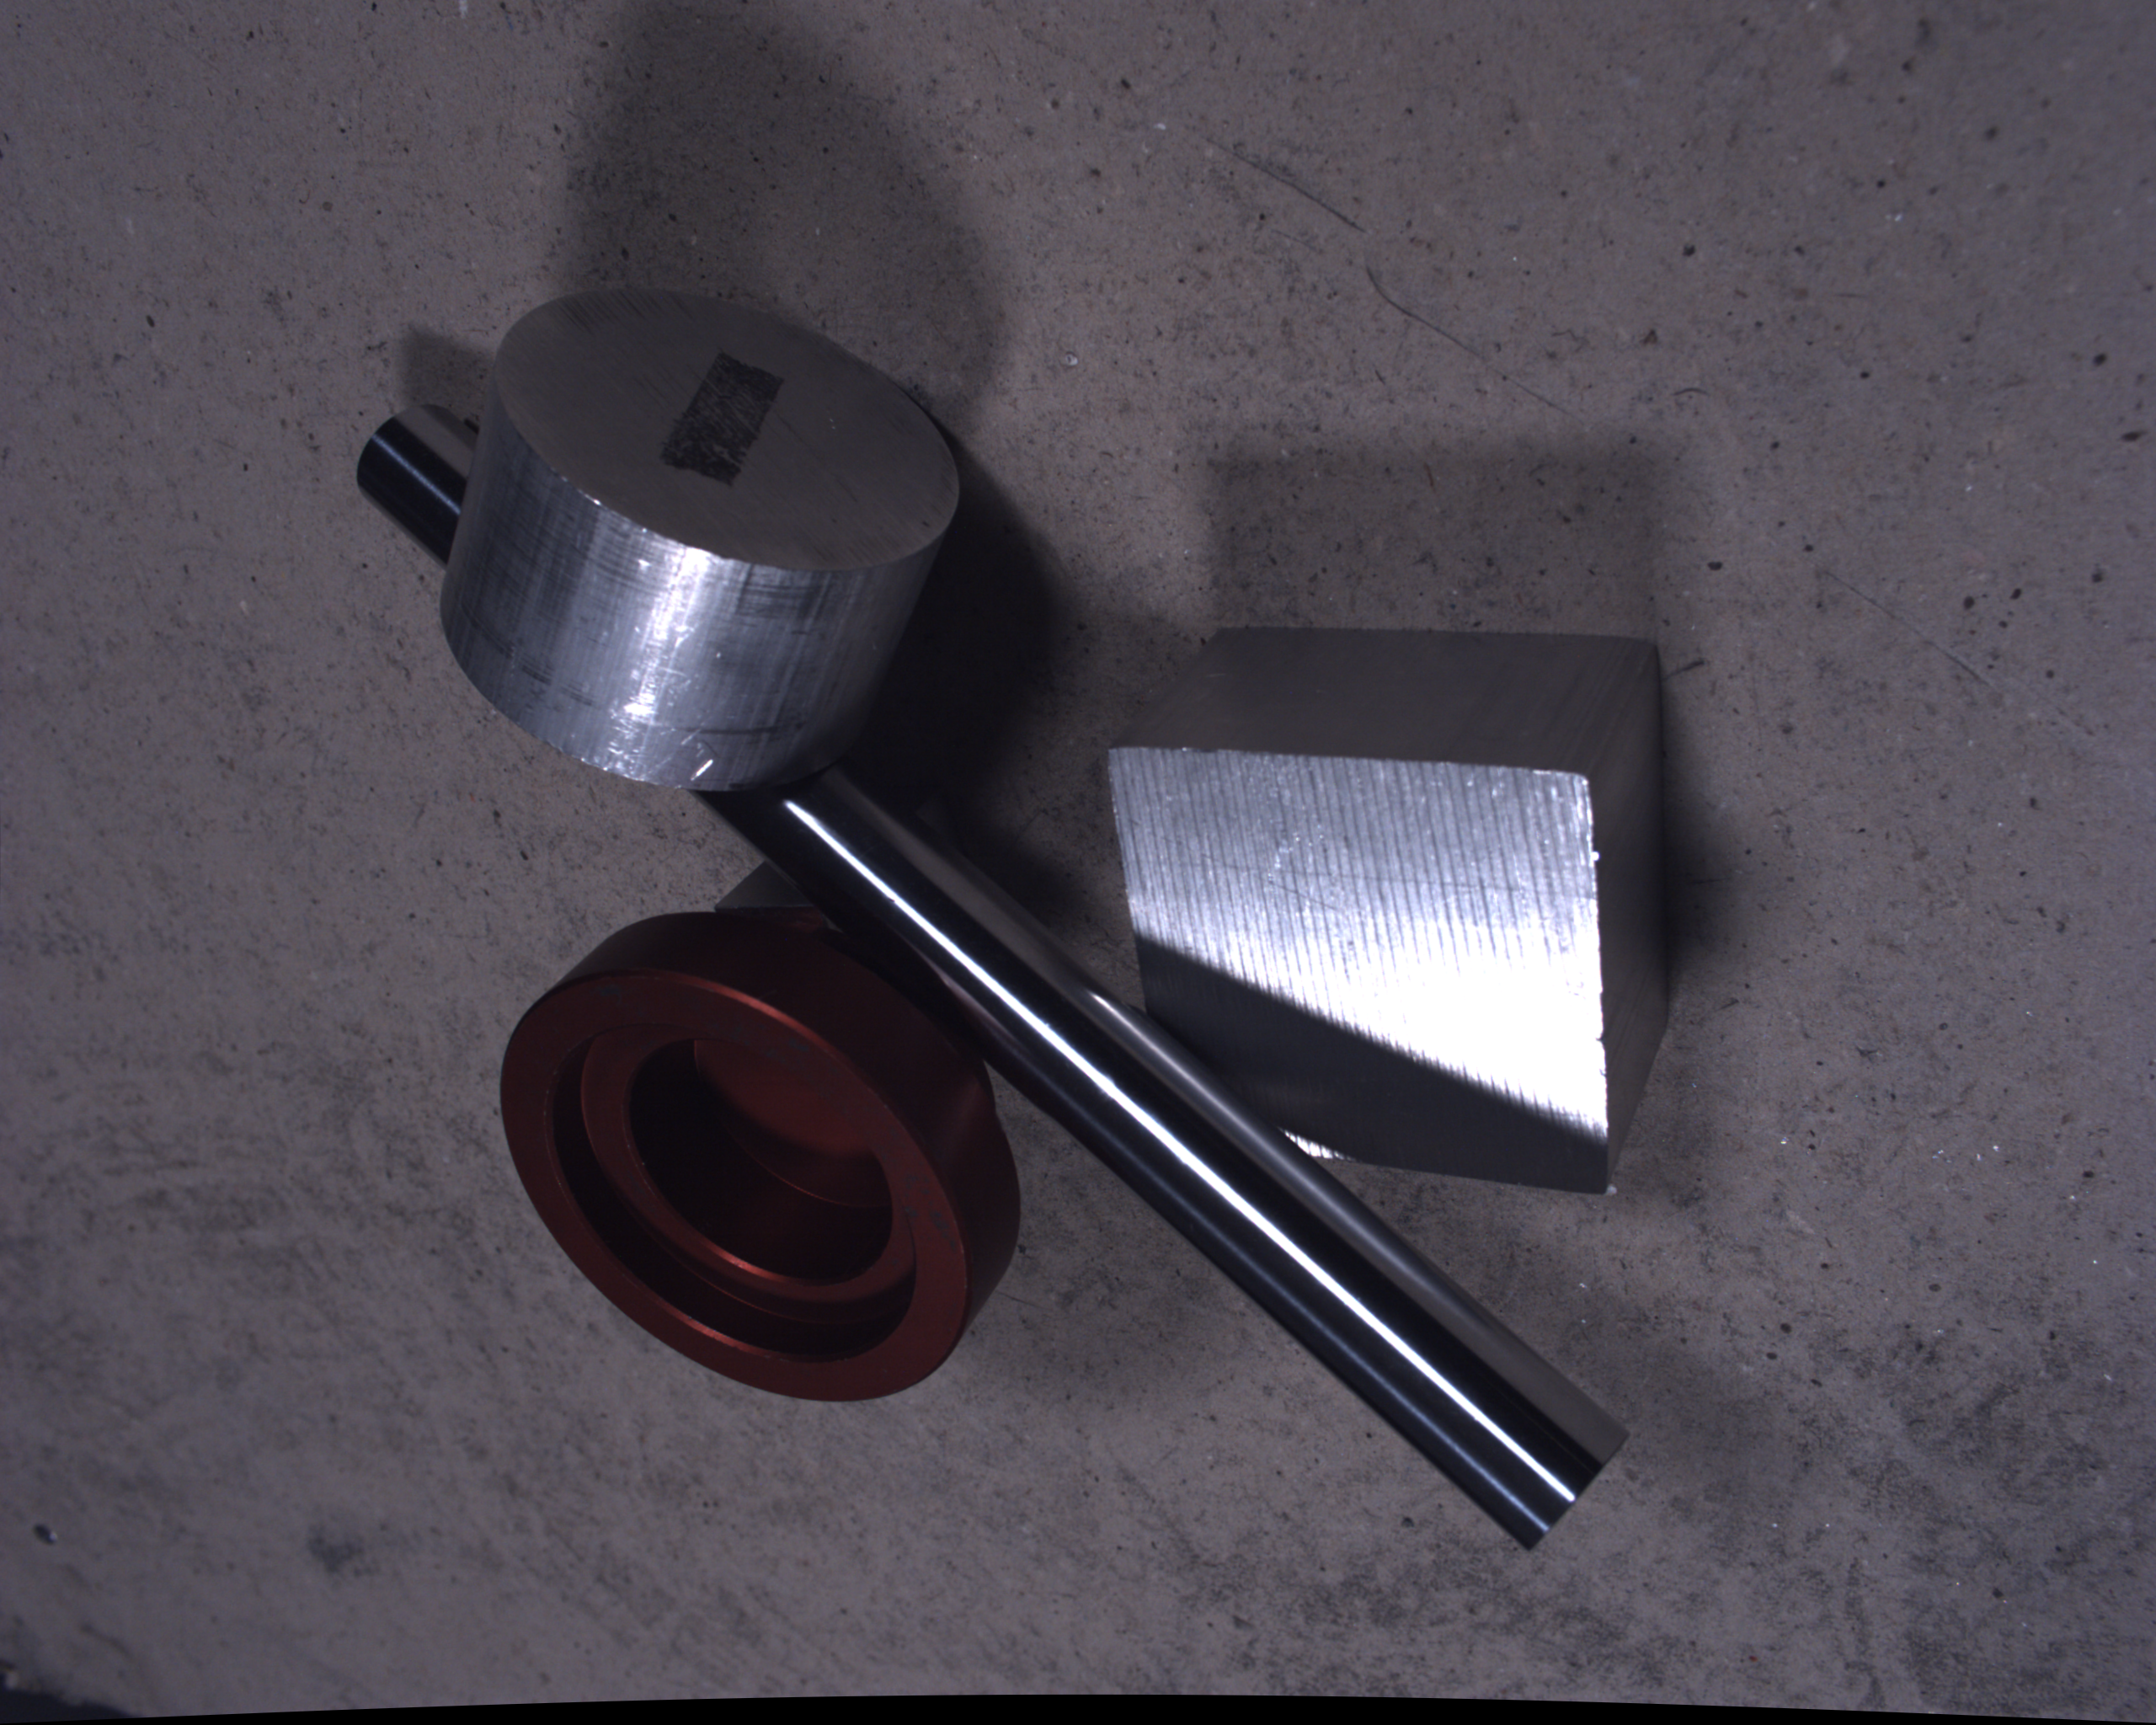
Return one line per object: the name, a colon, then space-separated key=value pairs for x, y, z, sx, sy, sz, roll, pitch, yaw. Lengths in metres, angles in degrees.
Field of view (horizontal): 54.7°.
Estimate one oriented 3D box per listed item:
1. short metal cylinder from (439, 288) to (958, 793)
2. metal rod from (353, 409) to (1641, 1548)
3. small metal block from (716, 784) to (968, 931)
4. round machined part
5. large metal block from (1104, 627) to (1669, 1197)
short metal cylinder: x=-0.068 y=-0.058 z=0.371 sx=0.080 sy=0.080 sz=0.050 roll=33 pitch=128 yaw=6
metal rod: x=-0.028 y=0.008 z=0.379 sx=0.300 sy=0.025 sz=0.025 roll=40 pitch=130 yaw=19
small metal block: x=-0.042 y=0.018 z=0.425 sx=0.025 sy=0.050 sz=0.050 roll=-2 pitch=118 yaw=29
round machined part: x=-0.055 y=0.050 z=0.392 sx=0.098 sy=0.042 sz=0.097 roll=13 pitch=125 yaw=20
large metal block: x=0.057 y=0.006 z=0.365 sx=0.080 sy=0.050 sz=0.079 roll=4 pitch=121 yaw=25
